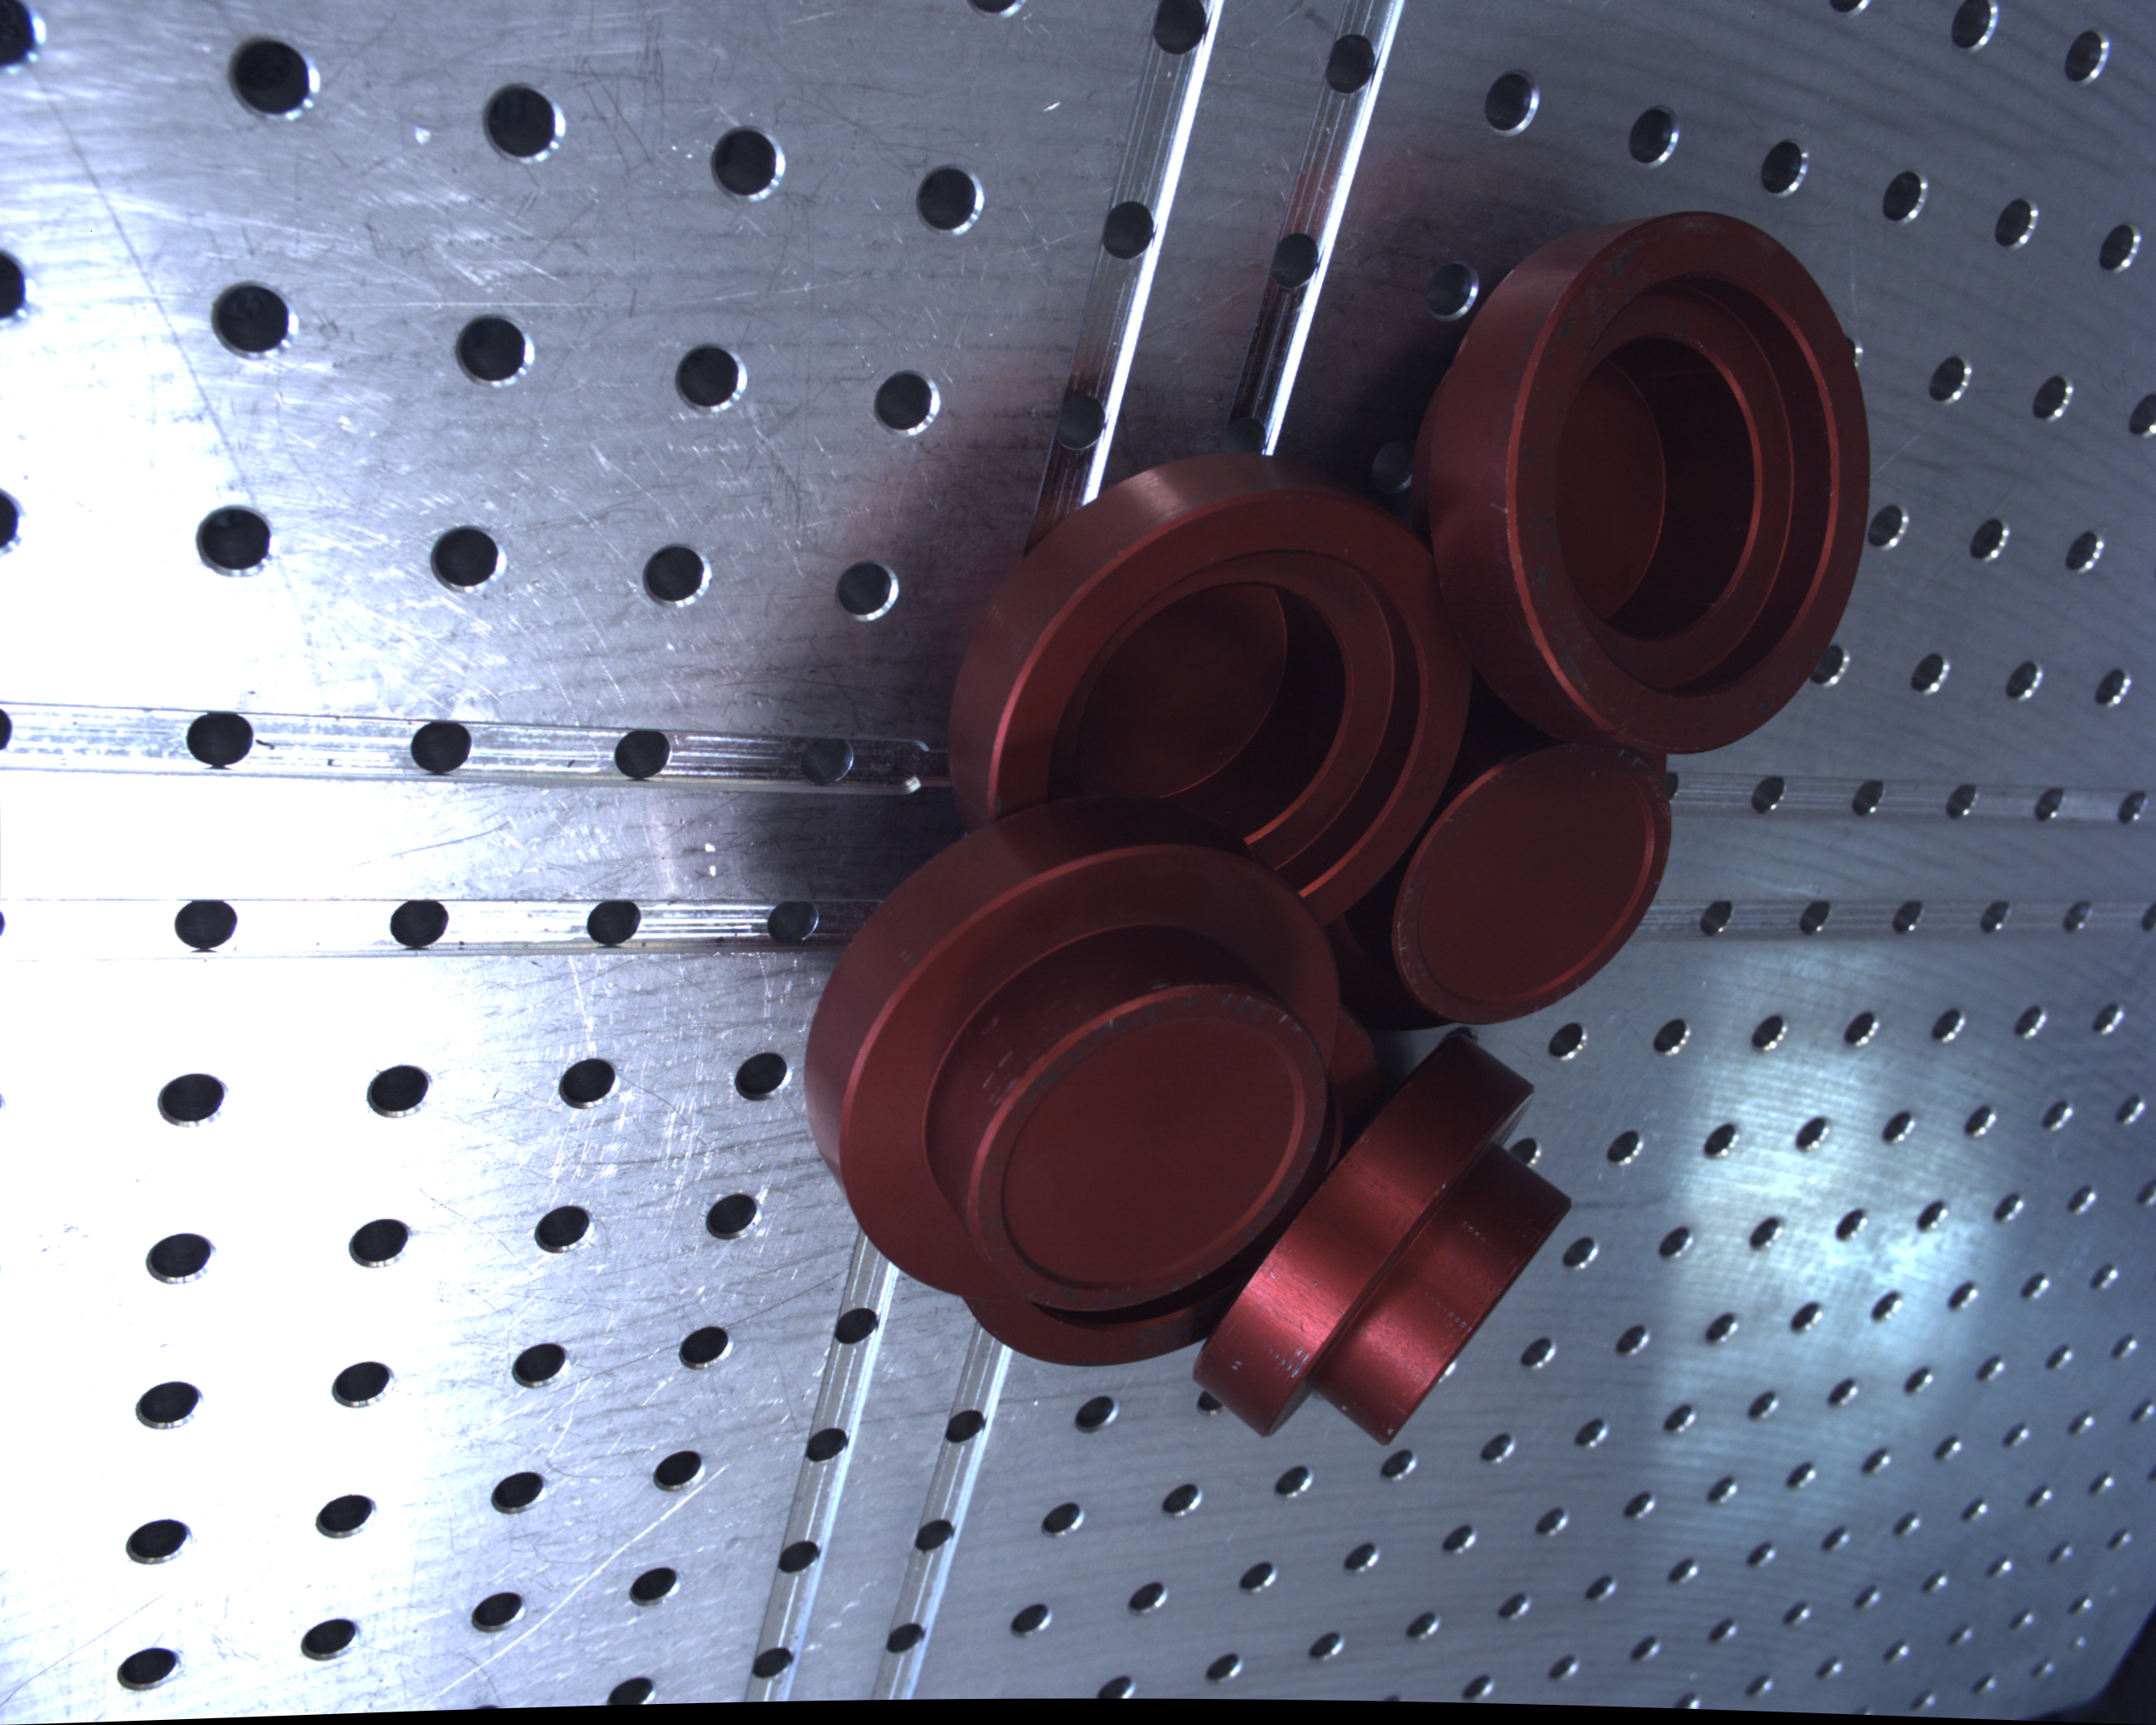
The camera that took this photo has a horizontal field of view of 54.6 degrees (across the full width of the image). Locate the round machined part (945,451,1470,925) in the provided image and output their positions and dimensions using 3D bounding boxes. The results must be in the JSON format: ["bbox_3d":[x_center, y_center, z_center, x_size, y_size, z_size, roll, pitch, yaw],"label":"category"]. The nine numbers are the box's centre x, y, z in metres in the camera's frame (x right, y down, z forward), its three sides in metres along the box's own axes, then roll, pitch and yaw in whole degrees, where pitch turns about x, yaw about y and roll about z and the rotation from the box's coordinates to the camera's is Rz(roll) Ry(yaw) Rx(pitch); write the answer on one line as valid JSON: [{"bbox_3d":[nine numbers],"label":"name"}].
[{"bbox_3d":[0.021,-0.031,0.392,0.099,0.042,0.097,-14,124,-21],"label":"round machined part"}]

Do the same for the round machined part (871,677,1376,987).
[{"bbox_3d":[0.005,0.008,0.407,0.099,0.042,0.097,-14,124,-21],"label":"round machined part"}]

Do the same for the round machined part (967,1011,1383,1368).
[{"bbox_3d":[0.011,0.055,0.439,0.099,0.042,0.097,-14,124,-21],"label":"round machined part"}]

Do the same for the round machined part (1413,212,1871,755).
[{"bbox_3d":[0.103,-0.071,0.397,0.099,0.042,0.097,-6,101,-34],"label":"round machined part"}]

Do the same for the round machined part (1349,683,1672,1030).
[{"bbox_3d":[0.085,-0.005,0.442,0.099,0.042,0.097,-14,124,-21],"label":"round machined part"}]

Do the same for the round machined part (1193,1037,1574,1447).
[{"bbox_3d":[0.072,0.089,0.462,0.098,0.042,0.098,-46,162,-19],"label":"round machined part"}]

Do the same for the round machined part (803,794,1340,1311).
[{"bbox_3d":[0.005,0.040,0.372,0.099,0.042,0.097,-14,124,-21],"label":"round machined part"}]
